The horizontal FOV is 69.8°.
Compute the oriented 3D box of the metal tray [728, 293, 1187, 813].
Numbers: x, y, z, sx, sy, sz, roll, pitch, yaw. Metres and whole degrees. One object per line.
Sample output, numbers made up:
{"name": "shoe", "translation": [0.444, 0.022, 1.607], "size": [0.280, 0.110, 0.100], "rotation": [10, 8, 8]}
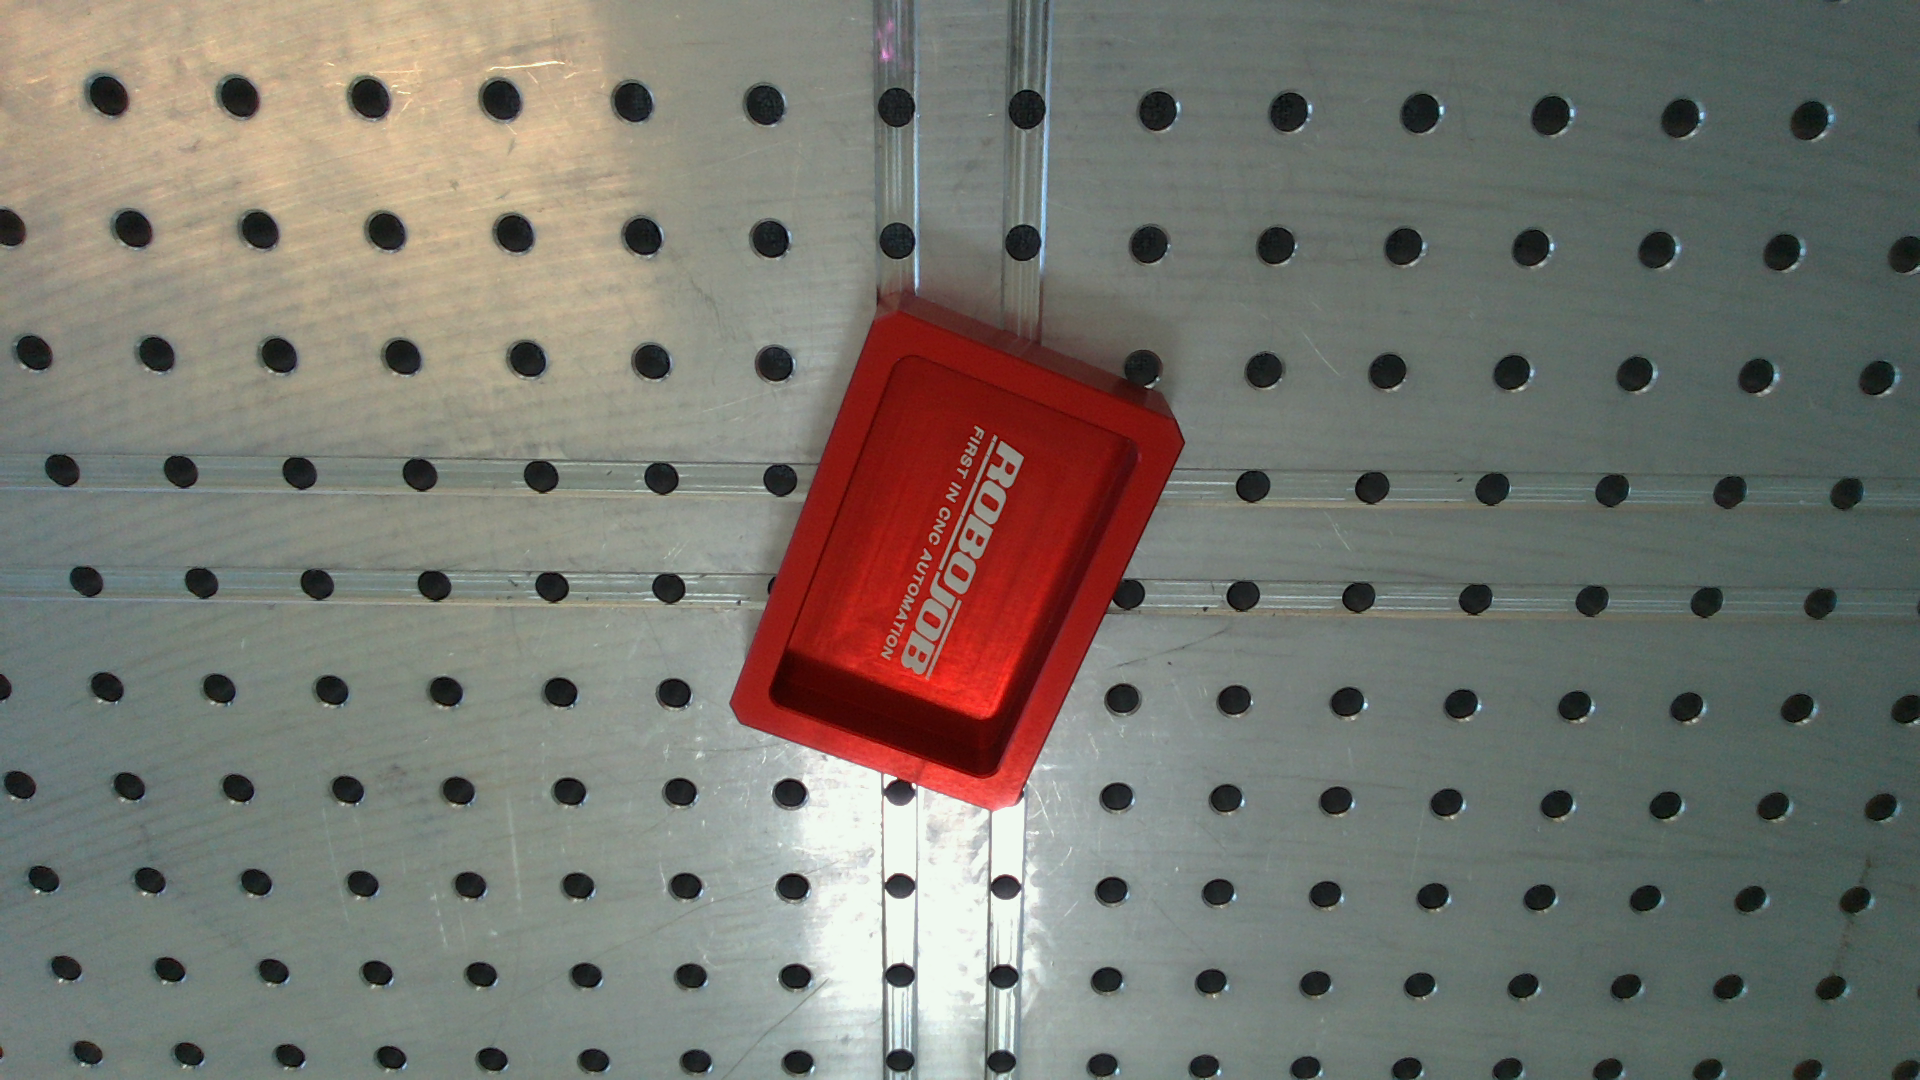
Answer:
{"name": "metal tray", "translation": [-0.003, 0.006, 0.396], "size": [0.090, 0.030, 0.130], "rotation": [20, 109, -8]}
